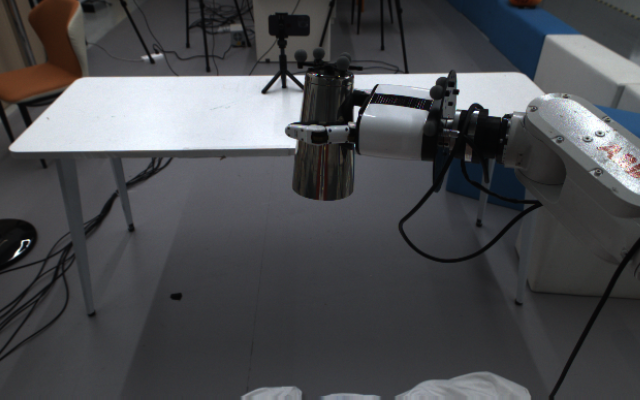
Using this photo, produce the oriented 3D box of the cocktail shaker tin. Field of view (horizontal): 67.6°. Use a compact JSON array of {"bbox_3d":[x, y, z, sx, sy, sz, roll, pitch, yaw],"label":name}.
[{"bbox_3d":[0.009,-0.096,0.687,0.093,0.170,0.093,3,25,-1],"label":"cocktail shaker tin"}]
